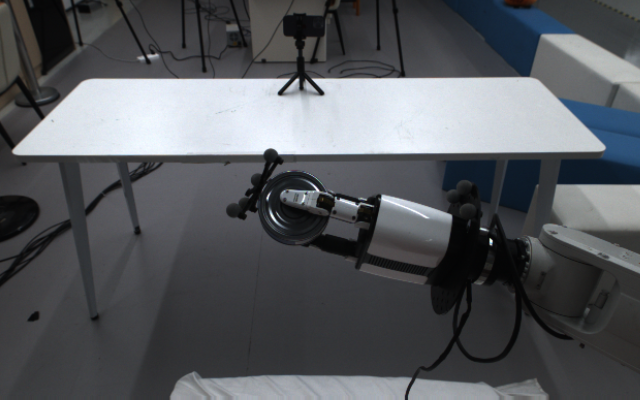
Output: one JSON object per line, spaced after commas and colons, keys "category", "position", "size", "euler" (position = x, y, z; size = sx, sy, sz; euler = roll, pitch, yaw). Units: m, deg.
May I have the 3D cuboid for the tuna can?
{"category": "tuna can", "position": [-0.026, 0.013, 0.567], "size": [0.085, 0.034, 0.085], "euler": [1, 76, -5]}
